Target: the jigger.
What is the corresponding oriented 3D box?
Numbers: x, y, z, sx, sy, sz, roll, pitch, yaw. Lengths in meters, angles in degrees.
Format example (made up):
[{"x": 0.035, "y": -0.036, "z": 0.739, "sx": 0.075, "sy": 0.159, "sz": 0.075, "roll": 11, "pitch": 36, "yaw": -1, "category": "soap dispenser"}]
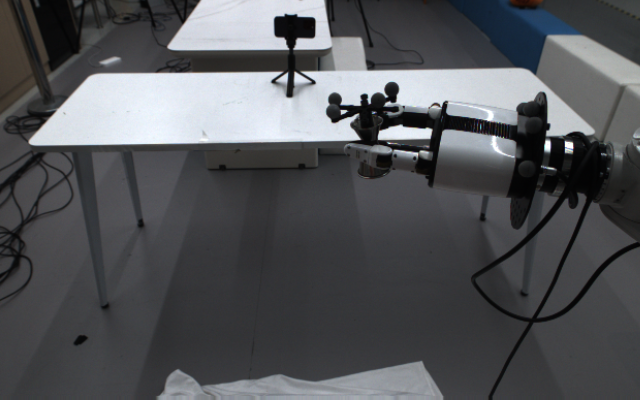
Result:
[{"x": 0.063, "y": -0.066, "z": 0.605, "sx": 0.043, "sy": 0.071, "sz": 0.043, "roll": -10, "pitch": 31, "yaw": 6, "category": "jigger"}]
